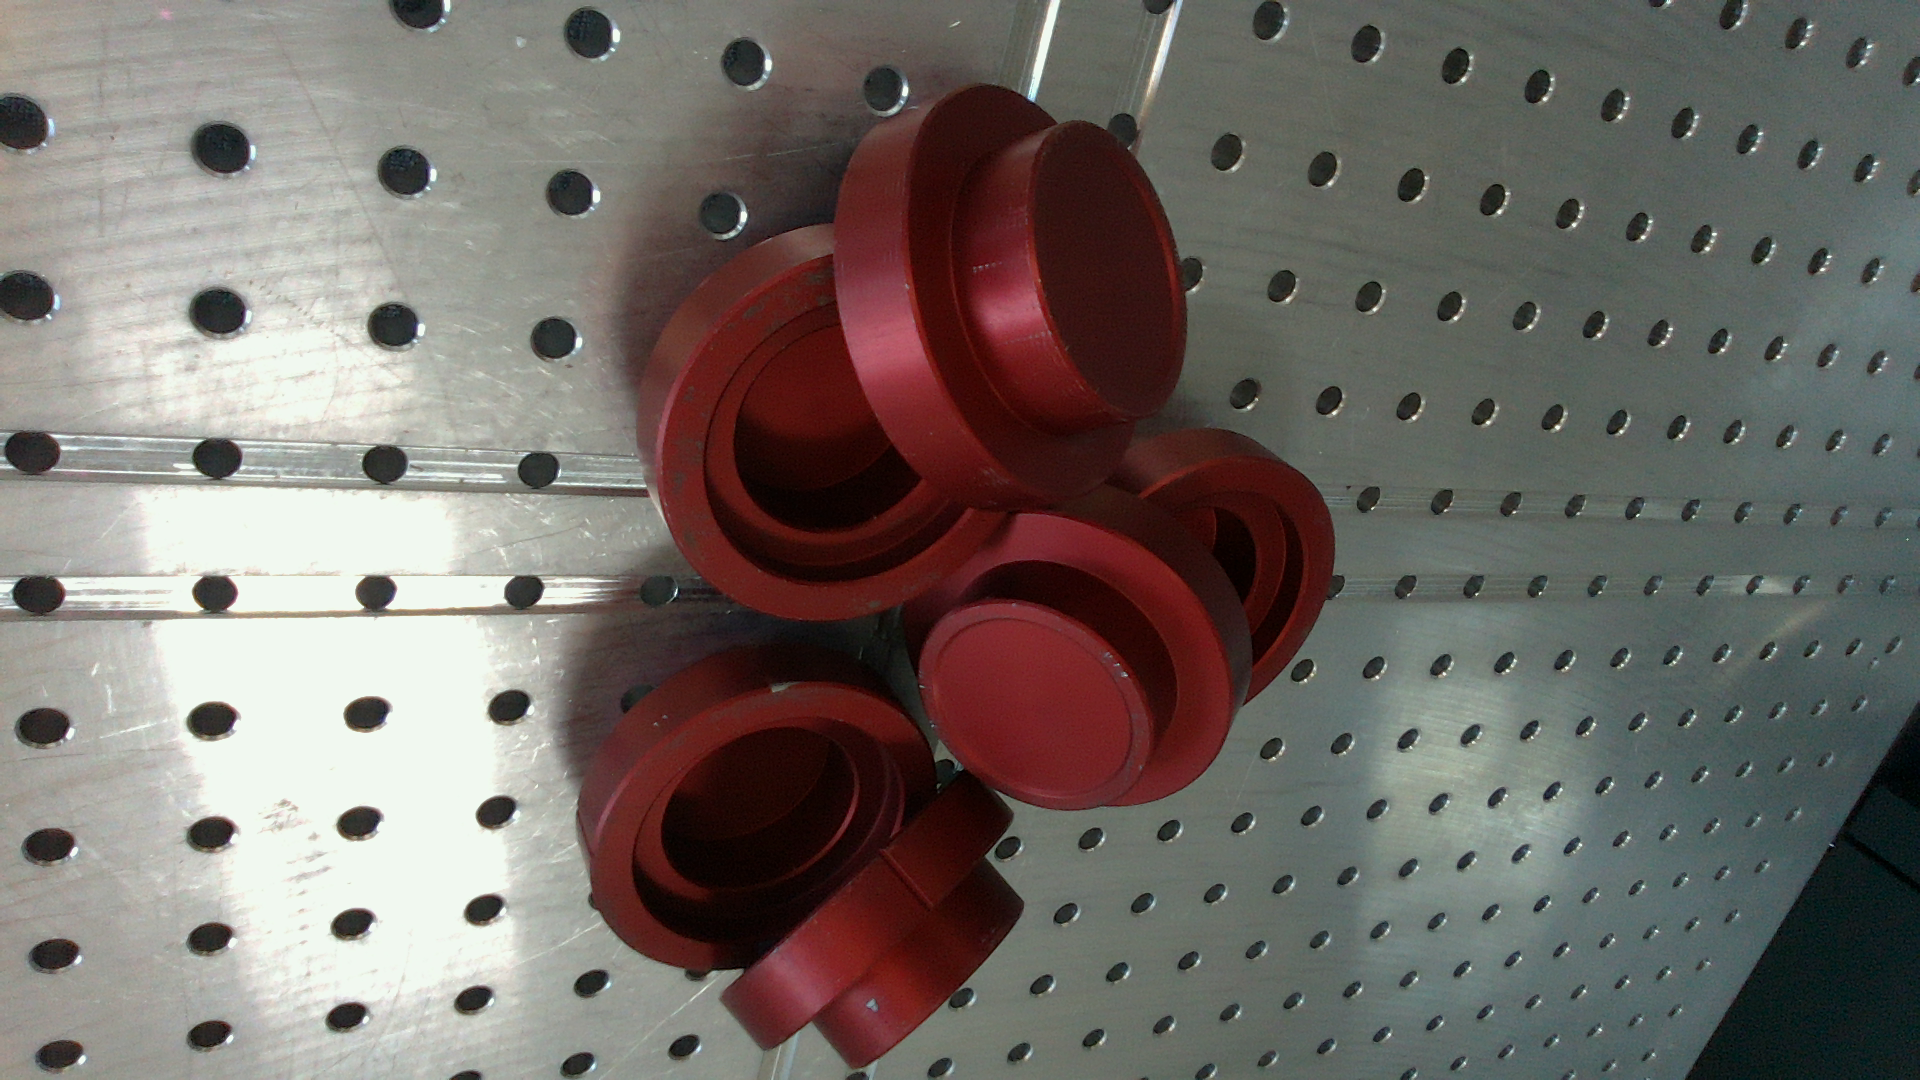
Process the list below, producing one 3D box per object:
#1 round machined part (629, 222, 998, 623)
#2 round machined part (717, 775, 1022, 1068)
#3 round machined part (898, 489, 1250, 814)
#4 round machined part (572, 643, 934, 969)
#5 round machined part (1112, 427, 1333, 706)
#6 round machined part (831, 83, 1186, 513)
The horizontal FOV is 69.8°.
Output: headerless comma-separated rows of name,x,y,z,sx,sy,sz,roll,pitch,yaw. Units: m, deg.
round machined part,-0.033,-0.032,0.342,0.098,0.042,0.098,-14,124,-21
round machined part,-0.020,0.114,0.403,0.098,0.042,0.098,-42,175,-5
round machined part,0.027,0.036,0.378,0.042,0.098,0.098,-50,147,-52
round machined part,-0.060,0.070,0.391,0.098,0.042,0.098,-14,124,-21
round machined part,0.061,0.010,0.420,0.098,0.042,0.098,-14,124,-21
round machined part,0.018,-0.058,0.320,0.098,0.042,0.098,18,67,-51
